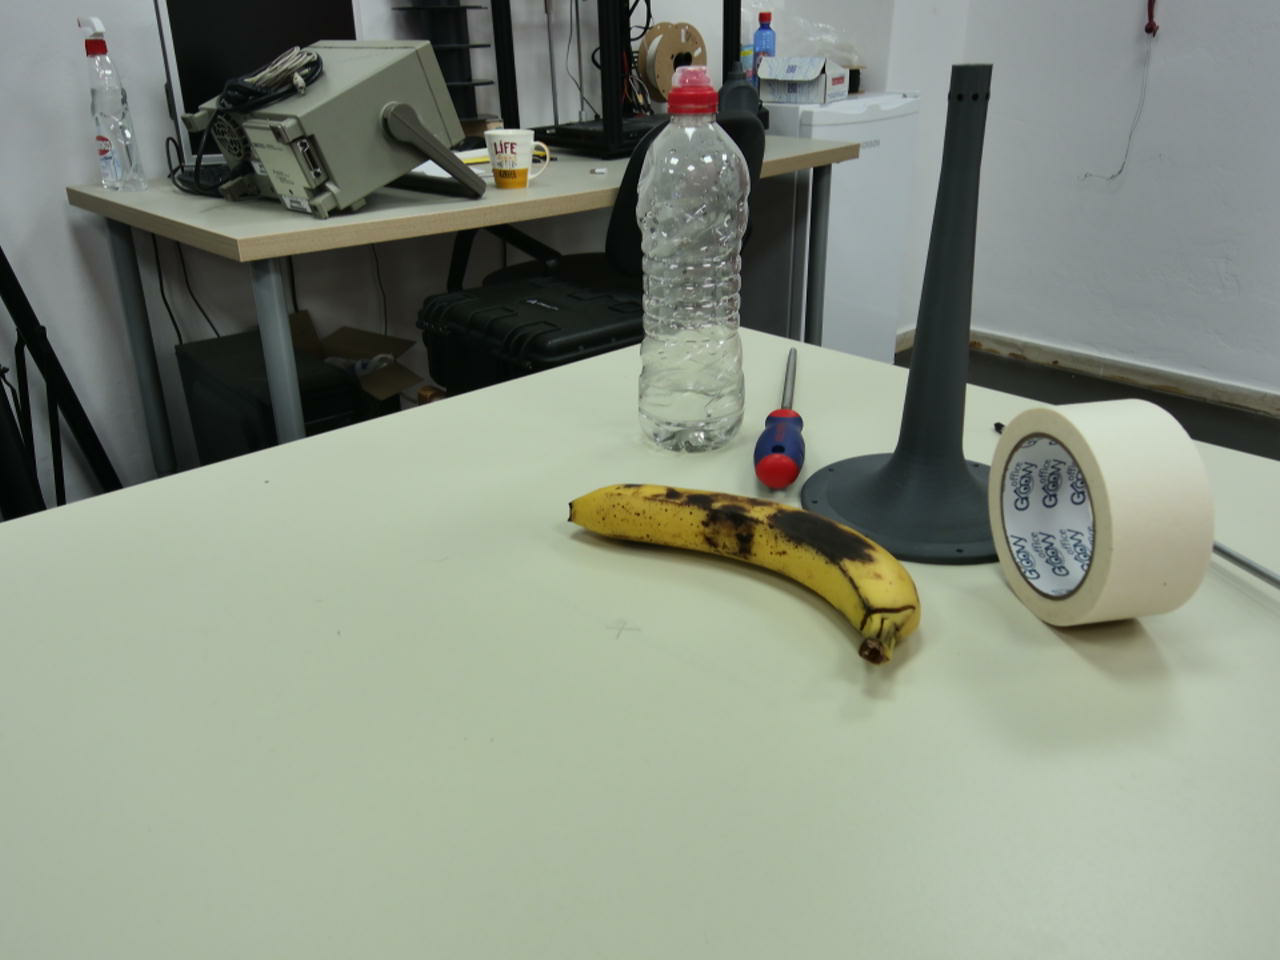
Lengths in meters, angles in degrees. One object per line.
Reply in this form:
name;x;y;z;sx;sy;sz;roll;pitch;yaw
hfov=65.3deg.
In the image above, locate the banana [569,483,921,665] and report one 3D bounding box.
banana;0.060;0.036;0.532;0.084;0.037;0.222;-19;29;-37
